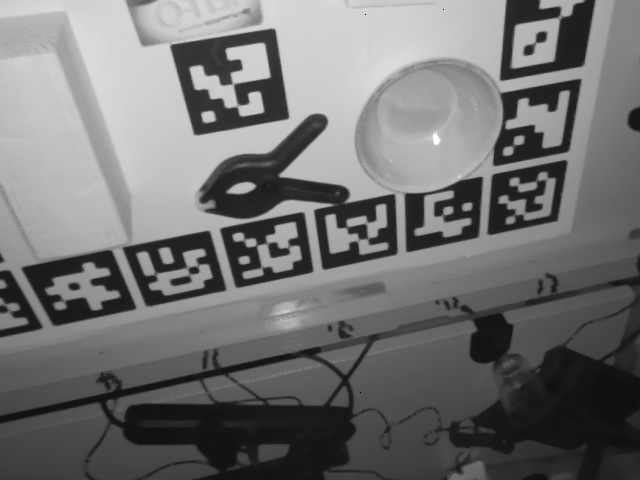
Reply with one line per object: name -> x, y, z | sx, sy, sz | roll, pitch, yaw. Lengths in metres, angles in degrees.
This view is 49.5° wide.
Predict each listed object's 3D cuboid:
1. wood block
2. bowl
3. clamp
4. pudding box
wood block -> -0.248, -0.098, 0.629 | 0.090, 0.091, 0.204 | -9, 129, -5
bowl -> 0.118, -0.135, 0.725 | 0.162, 0.055, 0.160 | -6, 126, -8
clamp -> -0.037, -0.078, 0.745 | 0.165, 0.037, 0.121 | -19, 130, 3
pudding box -> -0.109, -0.234, 0.591 | 0.114, 0.039, 0.089 | -13, 126, -6
